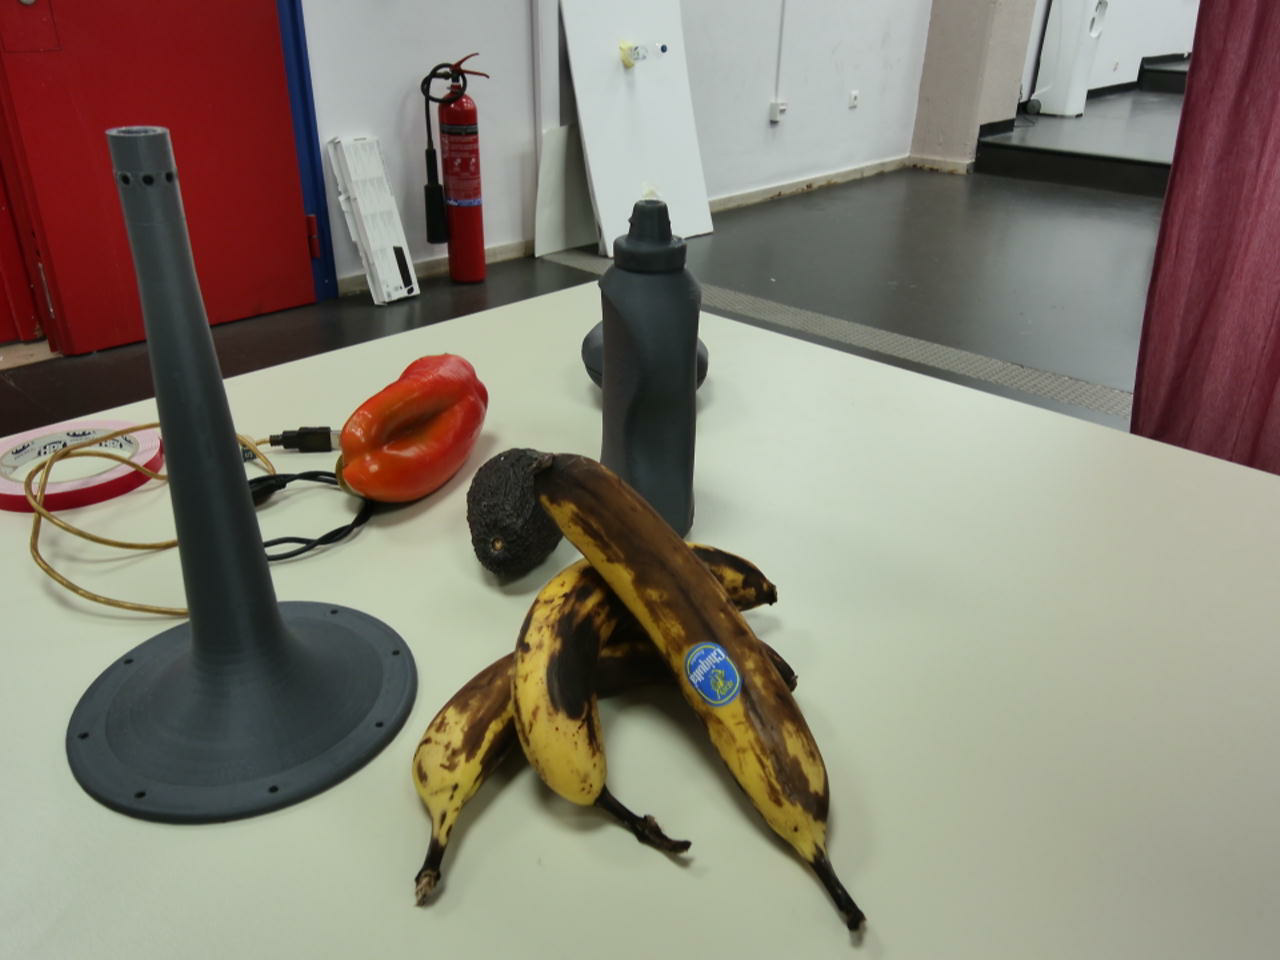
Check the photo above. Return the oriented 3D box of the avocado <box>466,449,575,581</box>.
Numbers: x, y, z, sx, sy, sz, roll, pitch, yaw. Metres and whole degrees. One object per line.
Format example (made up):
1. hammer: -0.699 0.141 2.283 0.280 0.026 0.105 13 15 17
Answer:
1. avocado: -0.072 0.017 0.579 0.062 0.062 0.092 8 27 16
